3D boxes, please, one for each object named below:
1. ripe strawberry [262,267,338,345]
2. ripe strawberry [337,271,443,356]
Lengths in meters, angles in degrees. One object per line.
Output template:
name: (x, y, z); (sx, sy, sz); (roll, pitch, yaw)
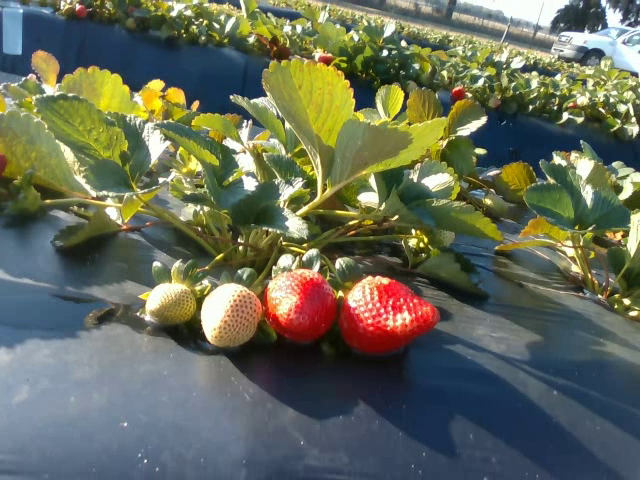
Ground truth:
ripe strawberry: (-0.011, 0.035, 0.319); (0.050, 0.044, 0.061); (33, 9, 2)
ripe strawberry: (0.042, 0.041, 0.325); (0.056, 0.052, 0.067); (-37, 21, -33)
